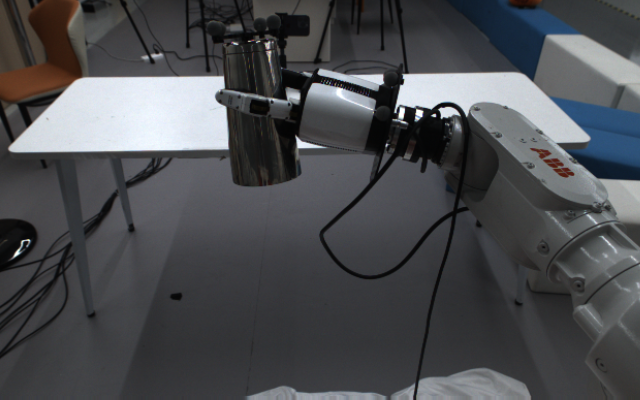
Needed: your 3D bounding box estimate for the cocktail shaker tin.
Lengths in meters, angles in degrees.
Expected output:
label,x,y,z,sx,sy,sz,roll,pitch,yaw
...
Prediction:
label,x,y,z,sx,sy,sz,roll,pitch,yaw
cocktail shaker tin,-0.078,-0.112,0.613,0.093,0.170,0.093,-6,19,2
